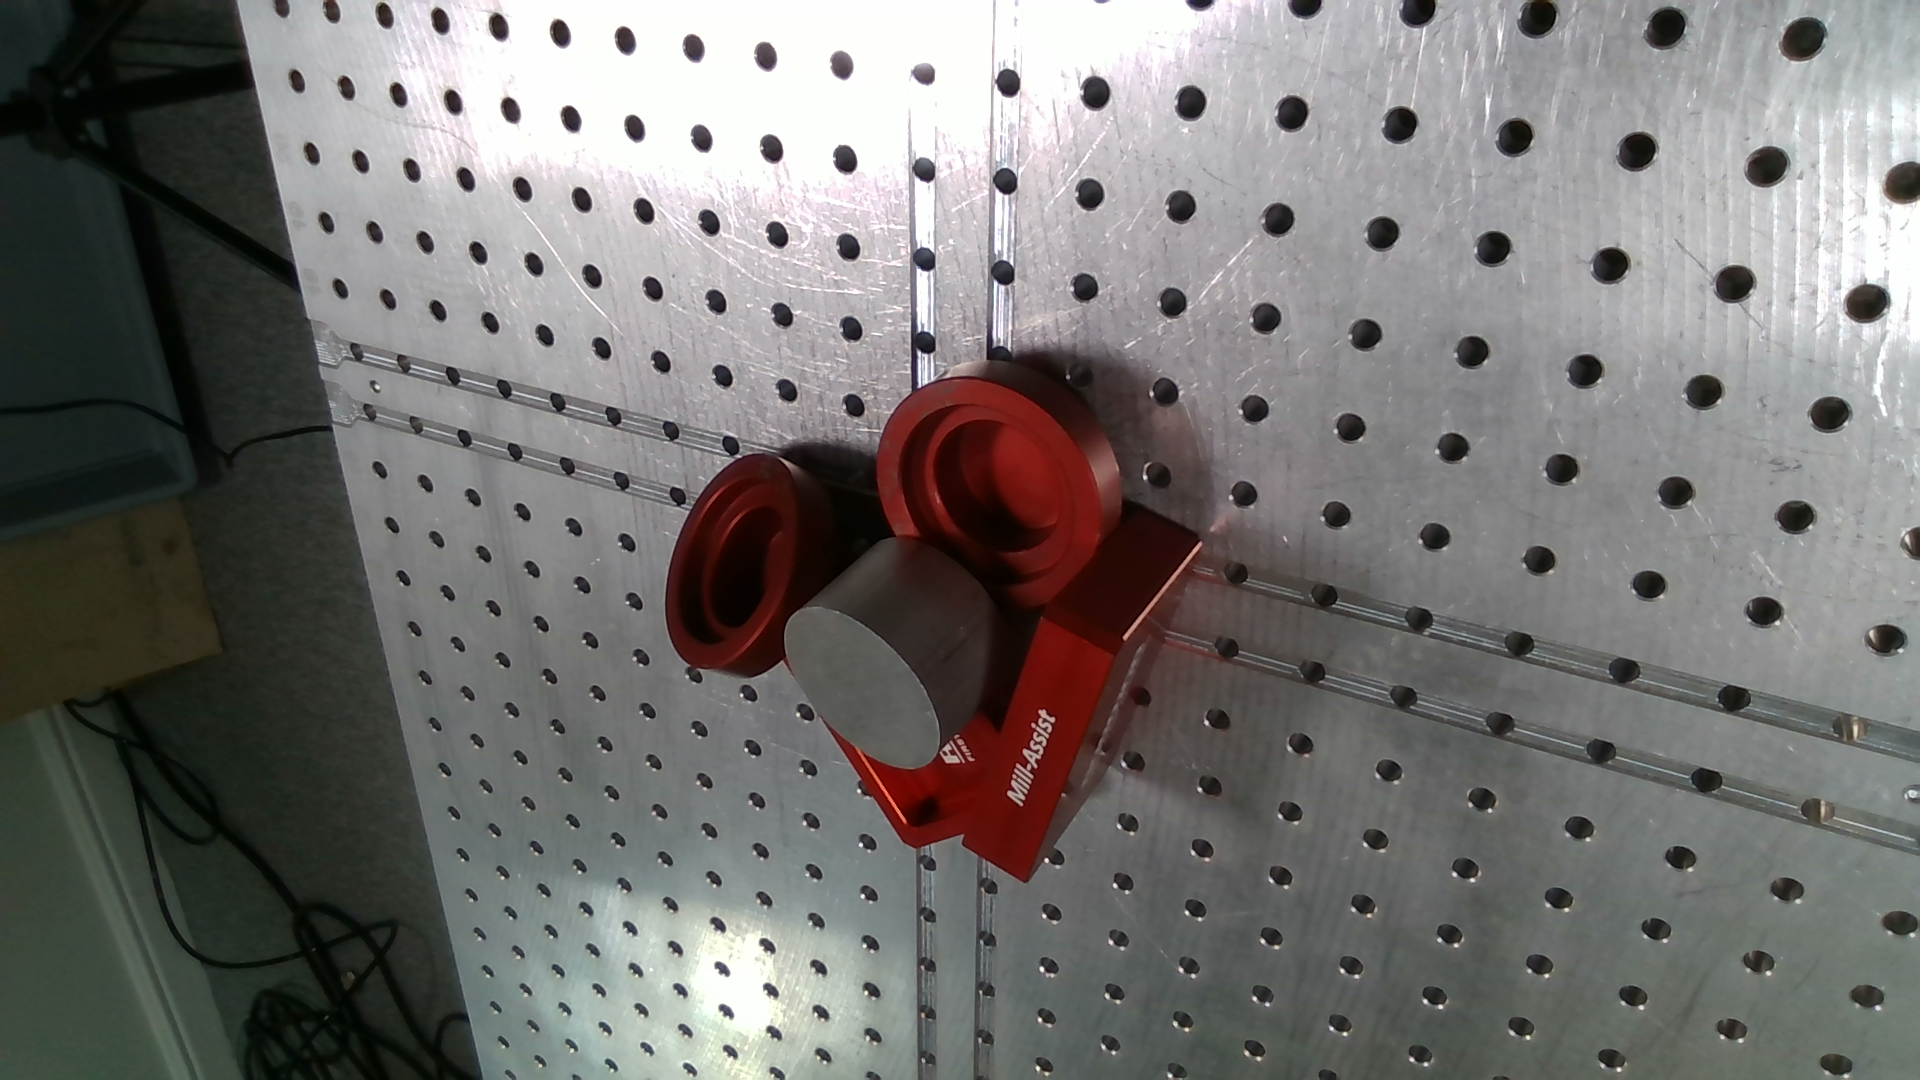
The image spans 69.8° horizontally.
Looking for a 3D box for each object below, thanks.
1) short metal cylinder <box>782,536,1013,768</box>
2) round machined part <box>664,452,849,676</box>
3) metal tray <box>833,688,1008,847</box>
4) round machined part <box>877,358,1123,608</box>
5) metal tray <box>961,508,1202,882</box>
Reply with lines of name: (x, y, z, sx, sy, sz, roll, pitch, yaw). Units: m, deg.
short metal cylinder: (-0.025, 0.046, 0.559, 0.080, 0.050, 0.080, 27, 139, 25)
round machined part: (-0.086, 0.014, 0.610, 0.098, 0.042, 0.098, -22, 58, 41)
metal tray: (-0.021, 0.072, 0.631, 0.090, 0.030, 0.130, -26, 100, 38)
round machined part: (0.019, -0.026, 0.546, 0.098, 0.042, 0.098, 14, 122, 25)
metal tray: (0.048, 0.062, 0.545, 0.030, 0.090, 0.130, 28, 127, 16)
